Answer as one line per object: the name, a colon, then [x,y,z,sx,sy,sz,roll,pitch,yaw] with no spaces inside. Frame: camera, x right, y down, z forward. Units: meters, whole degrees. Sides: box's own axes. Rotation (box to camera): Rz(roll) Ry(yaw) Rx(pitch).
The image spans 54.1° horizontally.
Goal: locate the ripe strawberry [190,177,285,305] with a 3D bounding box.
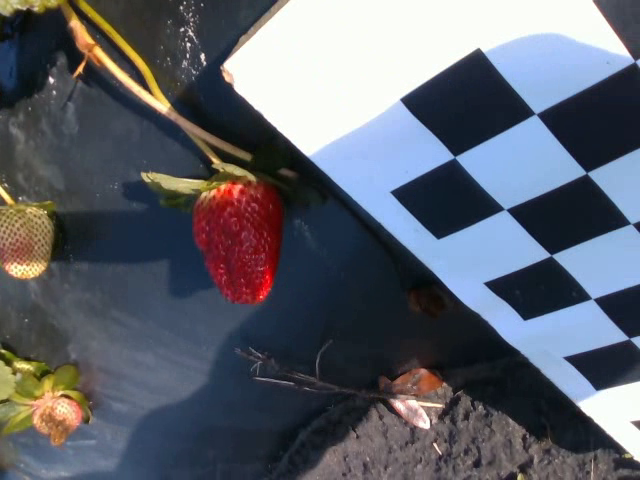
ripe strawberry: [-0.011,-0.001,0.086,0.016,0.023,0.015,-21,-15,35]
